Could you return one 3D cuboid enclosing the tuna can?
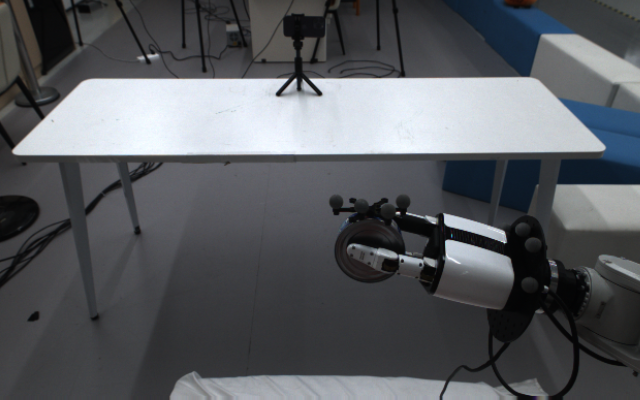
[{"bbox_3d":[0.063,0.057,0.598,0.085,0.085,0.034,4,17,3],"label":"tuna can"}]
